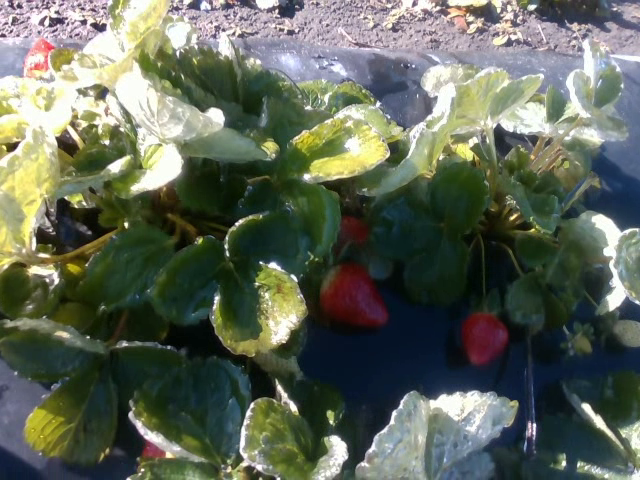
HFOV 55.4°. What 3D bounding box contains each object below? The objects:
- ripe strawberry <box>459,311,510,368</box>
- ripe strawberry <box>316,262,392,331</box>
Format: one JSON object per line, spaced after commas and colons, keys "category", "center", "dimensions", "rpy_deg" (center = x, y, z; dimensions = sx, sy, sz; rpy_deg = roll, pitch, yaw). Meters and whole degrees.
{"category": "ripe strawberry", "center": [0.117, 0.073, 0.421], "dimensions": [0.039, 0.047, 0.040], "rpy_deg": [33, -25, -14]}
{"category": "ripe strawberry", "center": [0.028, 0.043, 0.408], "dimensions": [0.056, 0.044, 0.040], "rpy_deg": [44, -17, -11]}
